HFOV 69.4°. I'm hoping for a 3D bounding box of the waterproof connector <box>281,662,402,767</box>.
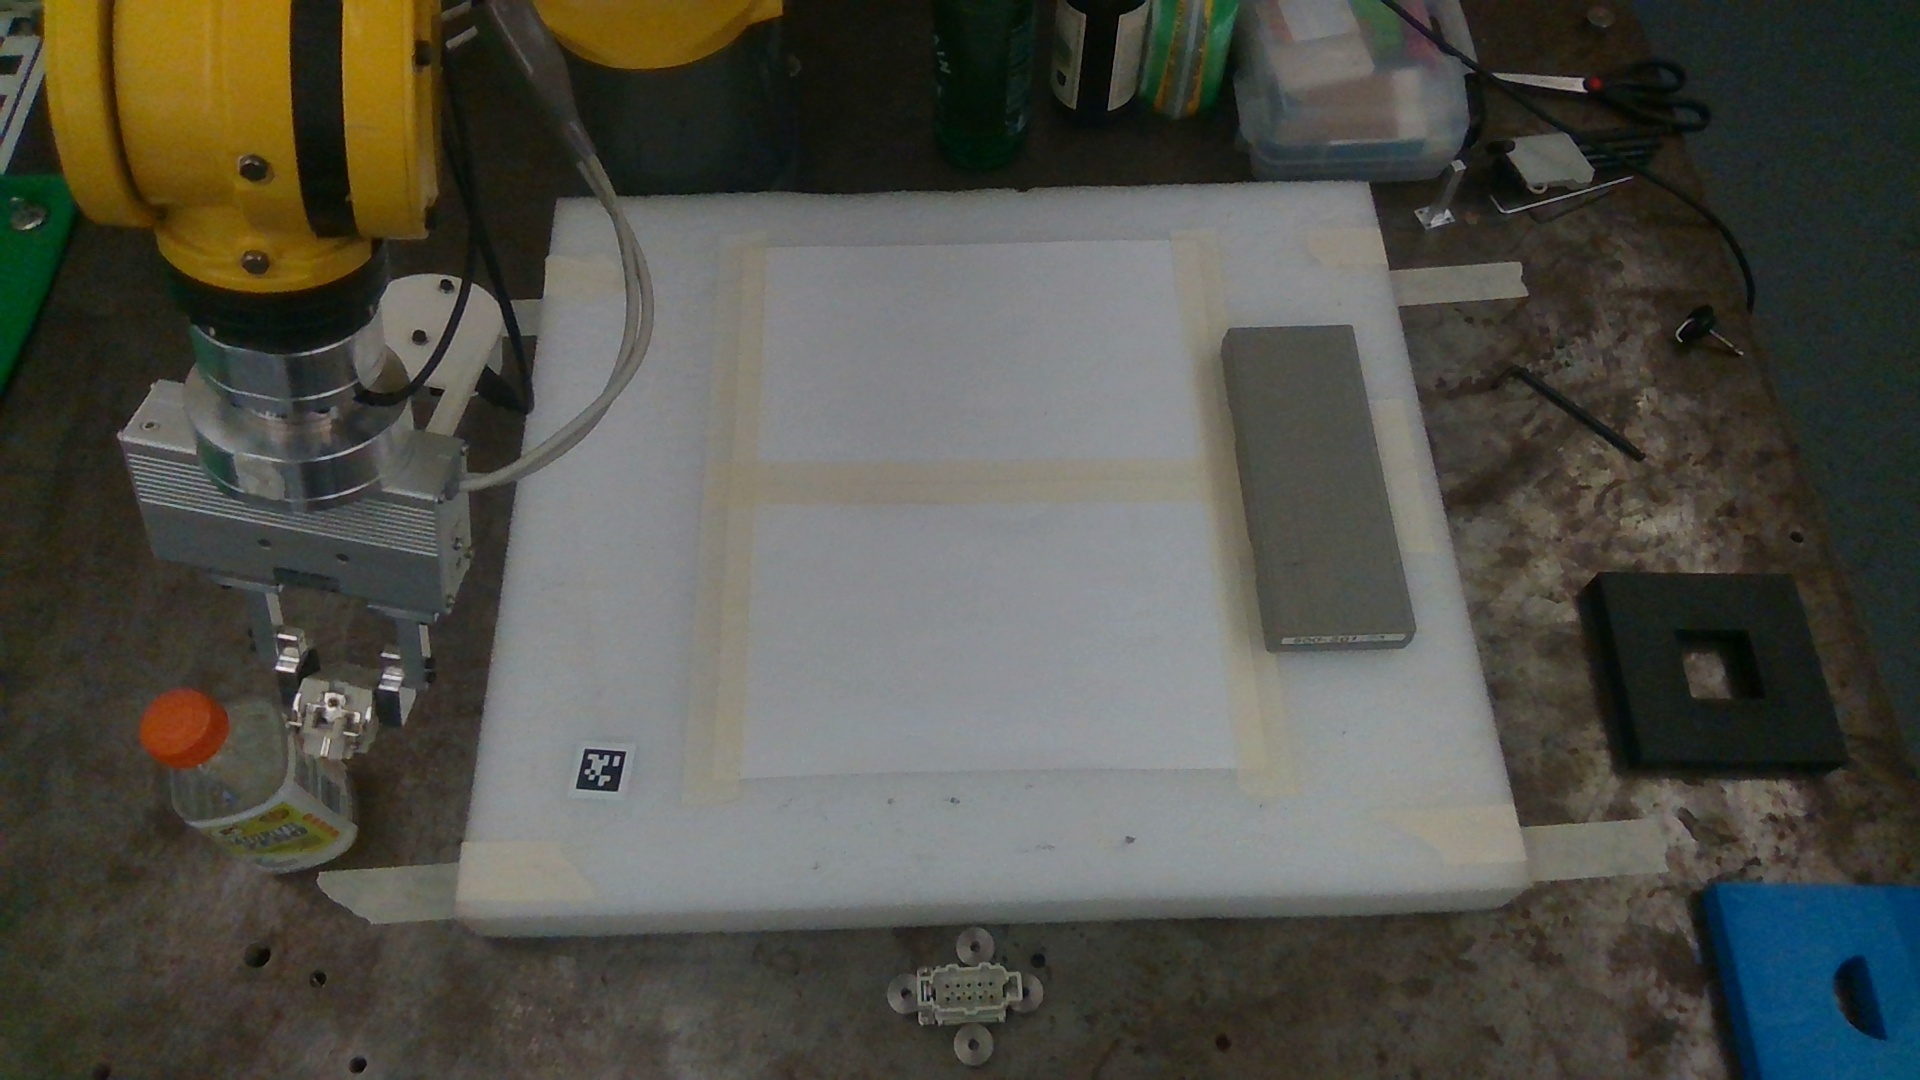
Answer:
[{"bbox_3d":[-0.288,0.082,0.649,0.036,0.069,0.038,13,92,-8],"label":"waterproof connector"}]
